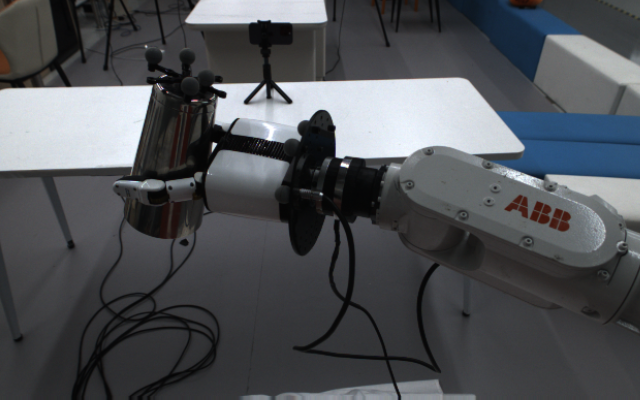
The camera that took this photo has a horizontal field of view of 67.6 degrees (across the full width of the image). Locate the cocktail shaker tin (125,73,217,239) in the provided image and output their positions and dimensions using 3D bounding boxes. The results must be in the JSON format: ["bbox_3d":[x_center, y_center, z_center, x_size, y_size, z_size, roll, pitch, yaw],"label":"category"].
[{"bbox_3d":[-0.164,-0.051,0.548,0.093,0.170,0.093,16,31,-10],"label":"cocktail shaker tin"}]
